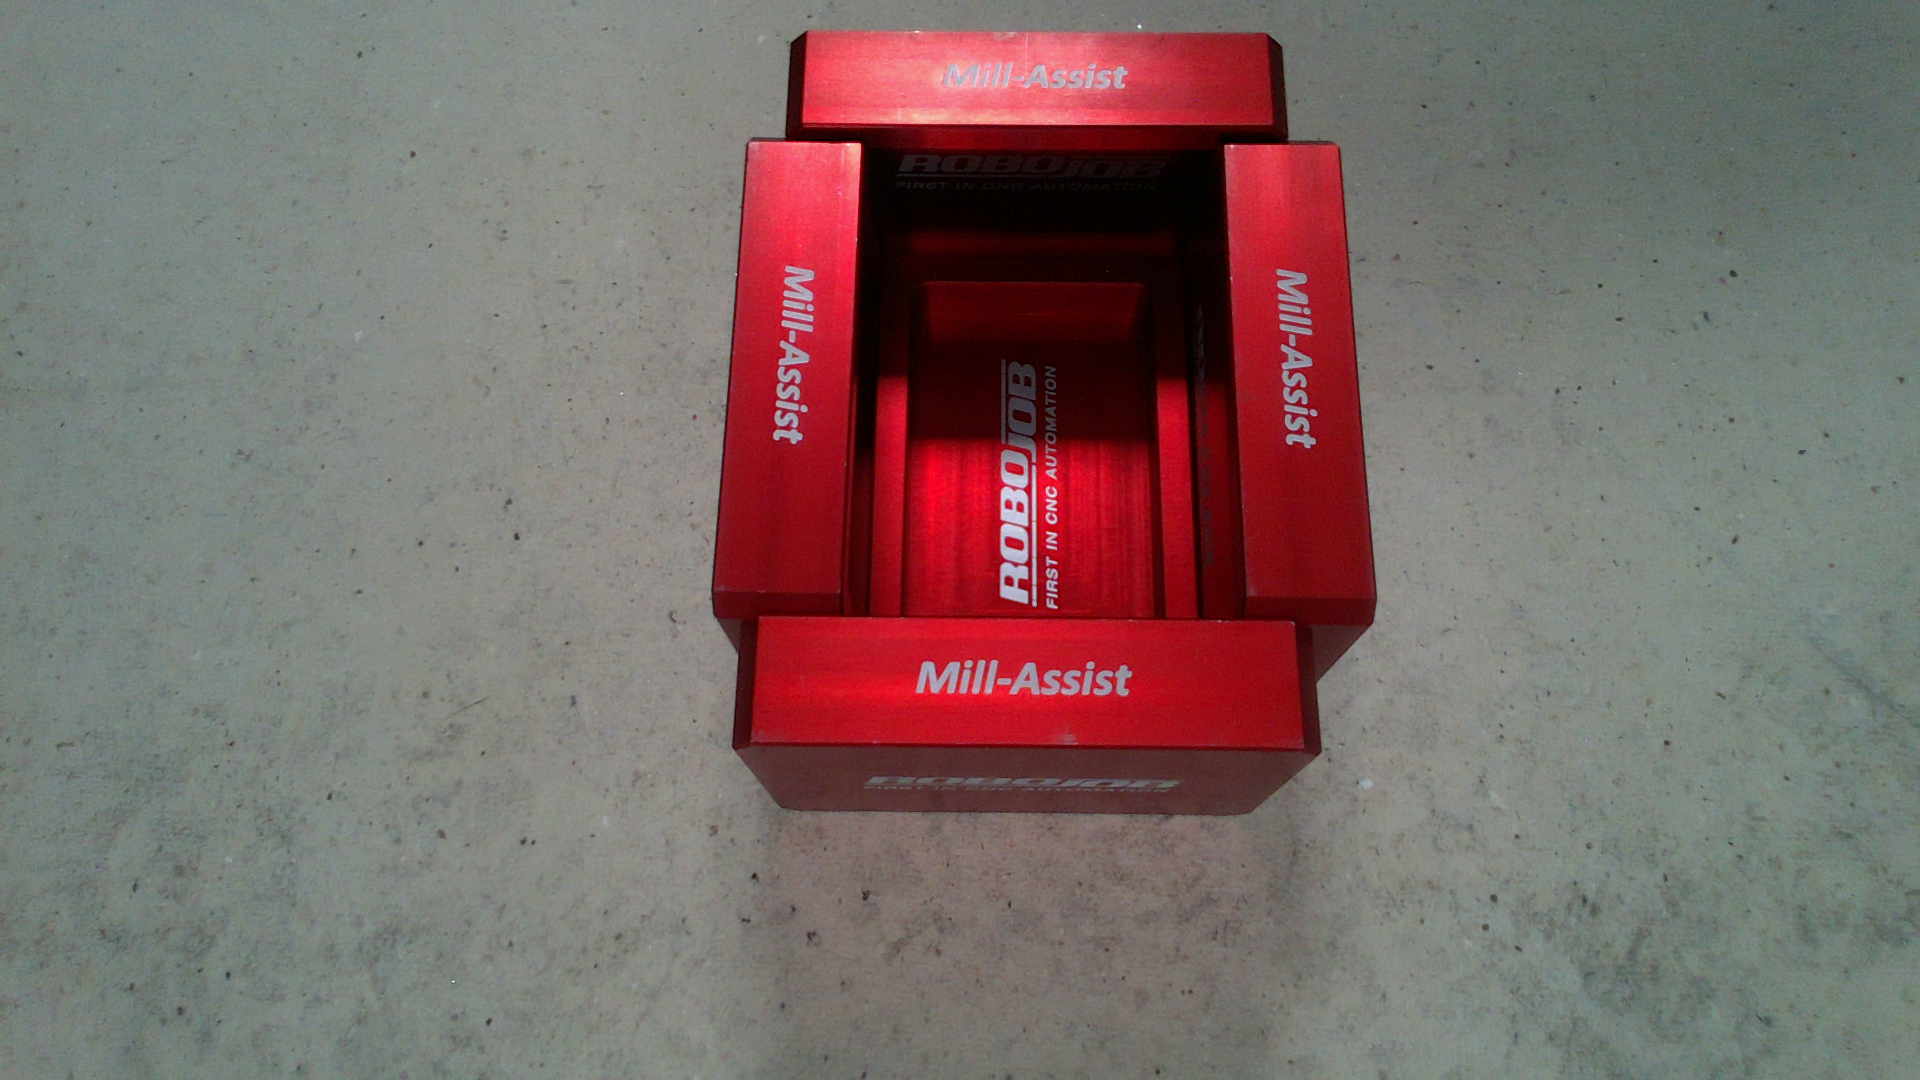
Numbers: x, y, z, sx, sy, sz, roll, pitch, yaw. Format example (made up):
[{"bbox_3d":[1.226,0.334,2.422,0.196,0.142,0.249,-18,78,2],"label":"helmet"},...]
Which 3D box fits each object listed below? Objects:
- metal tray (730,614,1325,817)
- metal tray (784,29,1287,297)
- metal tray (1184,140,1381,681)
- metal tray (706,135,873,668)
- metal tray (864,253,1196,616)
[{"bbox_3d":[0.015,0.046,0.343,0.130,0.090,0.030,1,70,0],"label":"metal tray"},{"bbox_3d":[0.020,-0.105,0.398,0.130,0.090,0.030,1,70,0],"label":"metal tray"},{"bbox_3d":[0.081,-0.028,0.370,0.030,0.090,0.130,1,70,1],"label":"metal tray"},{"bbox_3d":[-0.041,-0.030,0.370,0.030,0.090,0.130,1,70,1],"label":"metal tray"},{"bbox_3d":[0.019,-0.019,0.399,0.090,0.030,0.130,1,70,0],"label":"metal tray"}]
